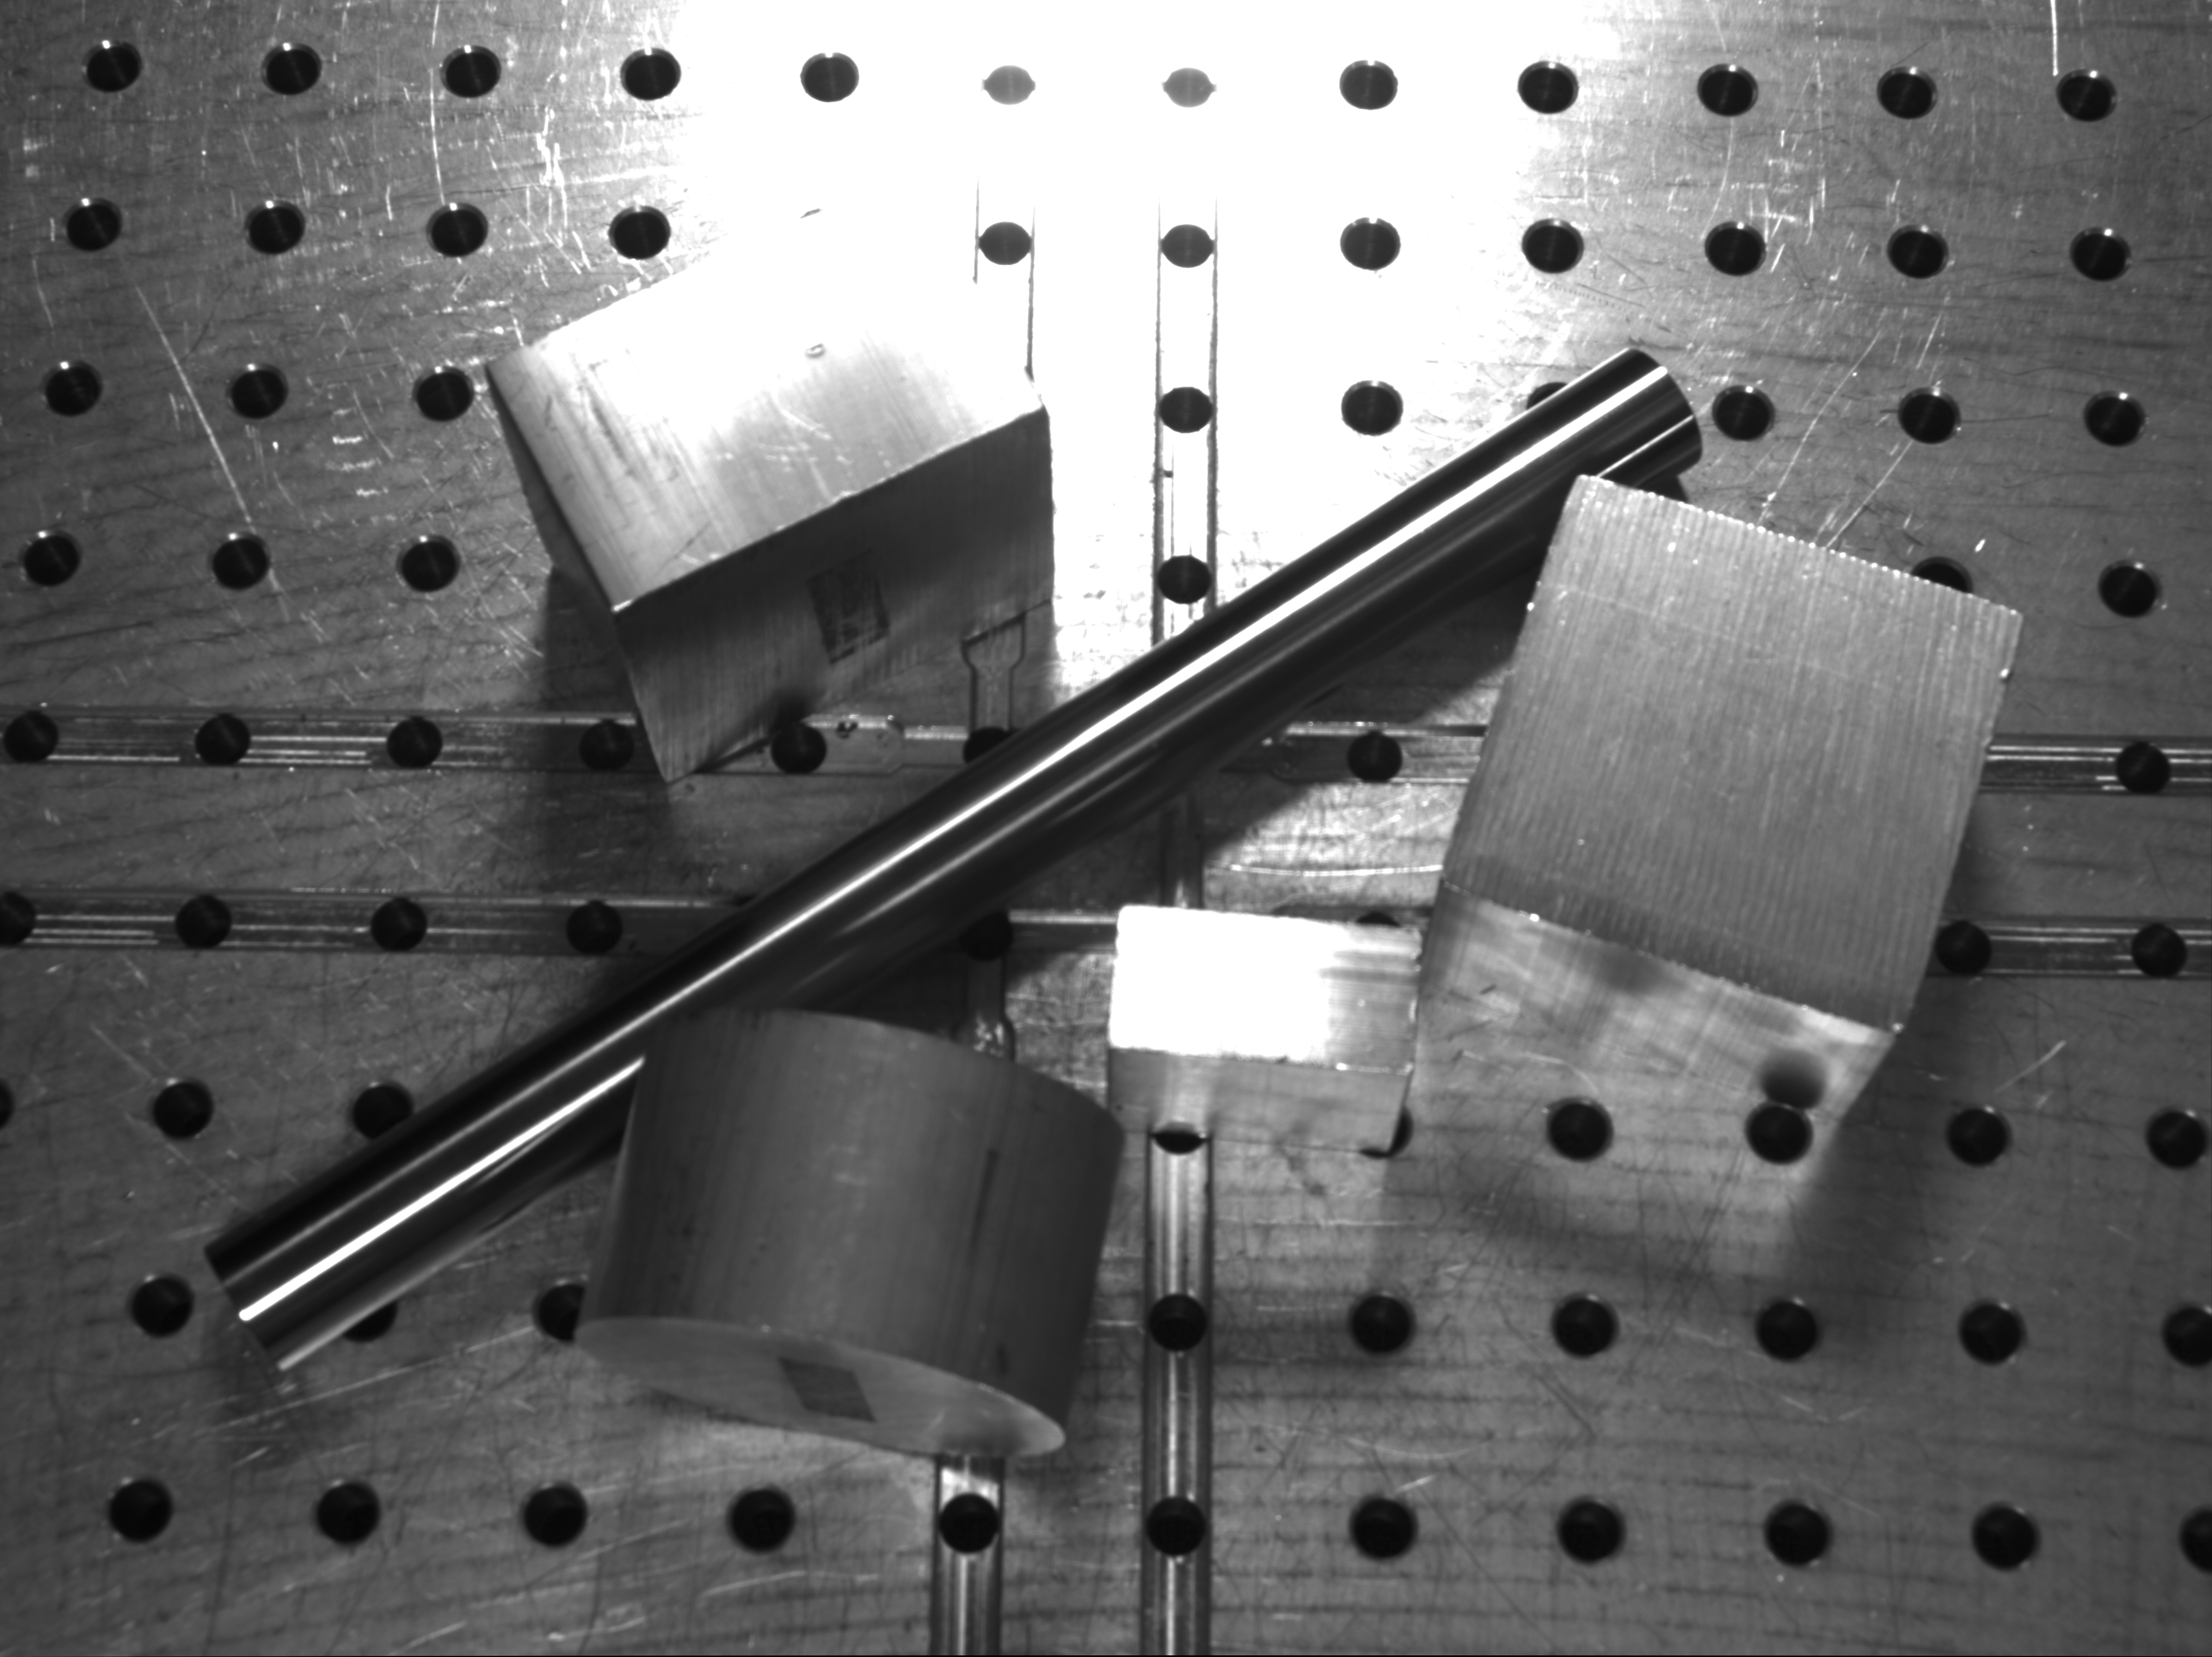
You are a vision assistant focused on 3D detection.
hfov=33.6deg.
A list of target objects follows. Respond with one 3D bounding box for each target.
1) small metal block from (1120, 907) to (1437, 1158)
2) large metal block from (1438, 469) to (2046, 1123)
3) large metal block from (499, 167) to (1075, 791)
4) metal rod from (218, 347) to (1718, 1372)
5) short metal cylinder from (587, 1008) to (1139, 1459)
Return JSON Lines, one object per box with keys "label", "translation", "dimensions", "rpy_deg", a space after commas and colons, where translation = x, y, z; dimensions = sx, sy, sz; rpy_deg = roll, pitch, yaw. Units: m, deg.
{"label": "small metal block", "translation": [0.028, 0.035, 0.621], "dimensions": [0.050, 0.050, 0.025], "rpy_deg": [5, 70, 2]}
{"label": "large metal block", "translation": [0.108, -0.005, 0.633], "dimensions": [0.080, 0.050, 0.080], "rpy_deg": [18, 71, 7]}
{"label": "large metal block", "translation": [-0.053, -0.059, 0.641], "dimensions": [0.080, 0.080, 0.050], "rpy_deg": [-27, 72, -9]}
{"label": "metal rod", "translation": [-0.019, 0.002, 0.646], "dimensions": [0.300, 0.025, 0.025], "rpy_deg": [-33, 73, -11]}
{"label": "short metal cylinder", "translation": [-0.039, 0.067, 0.593], "dimensions": [0.080, 0.080, 0.050], "rpy_deg": [11, 70, 4]}
